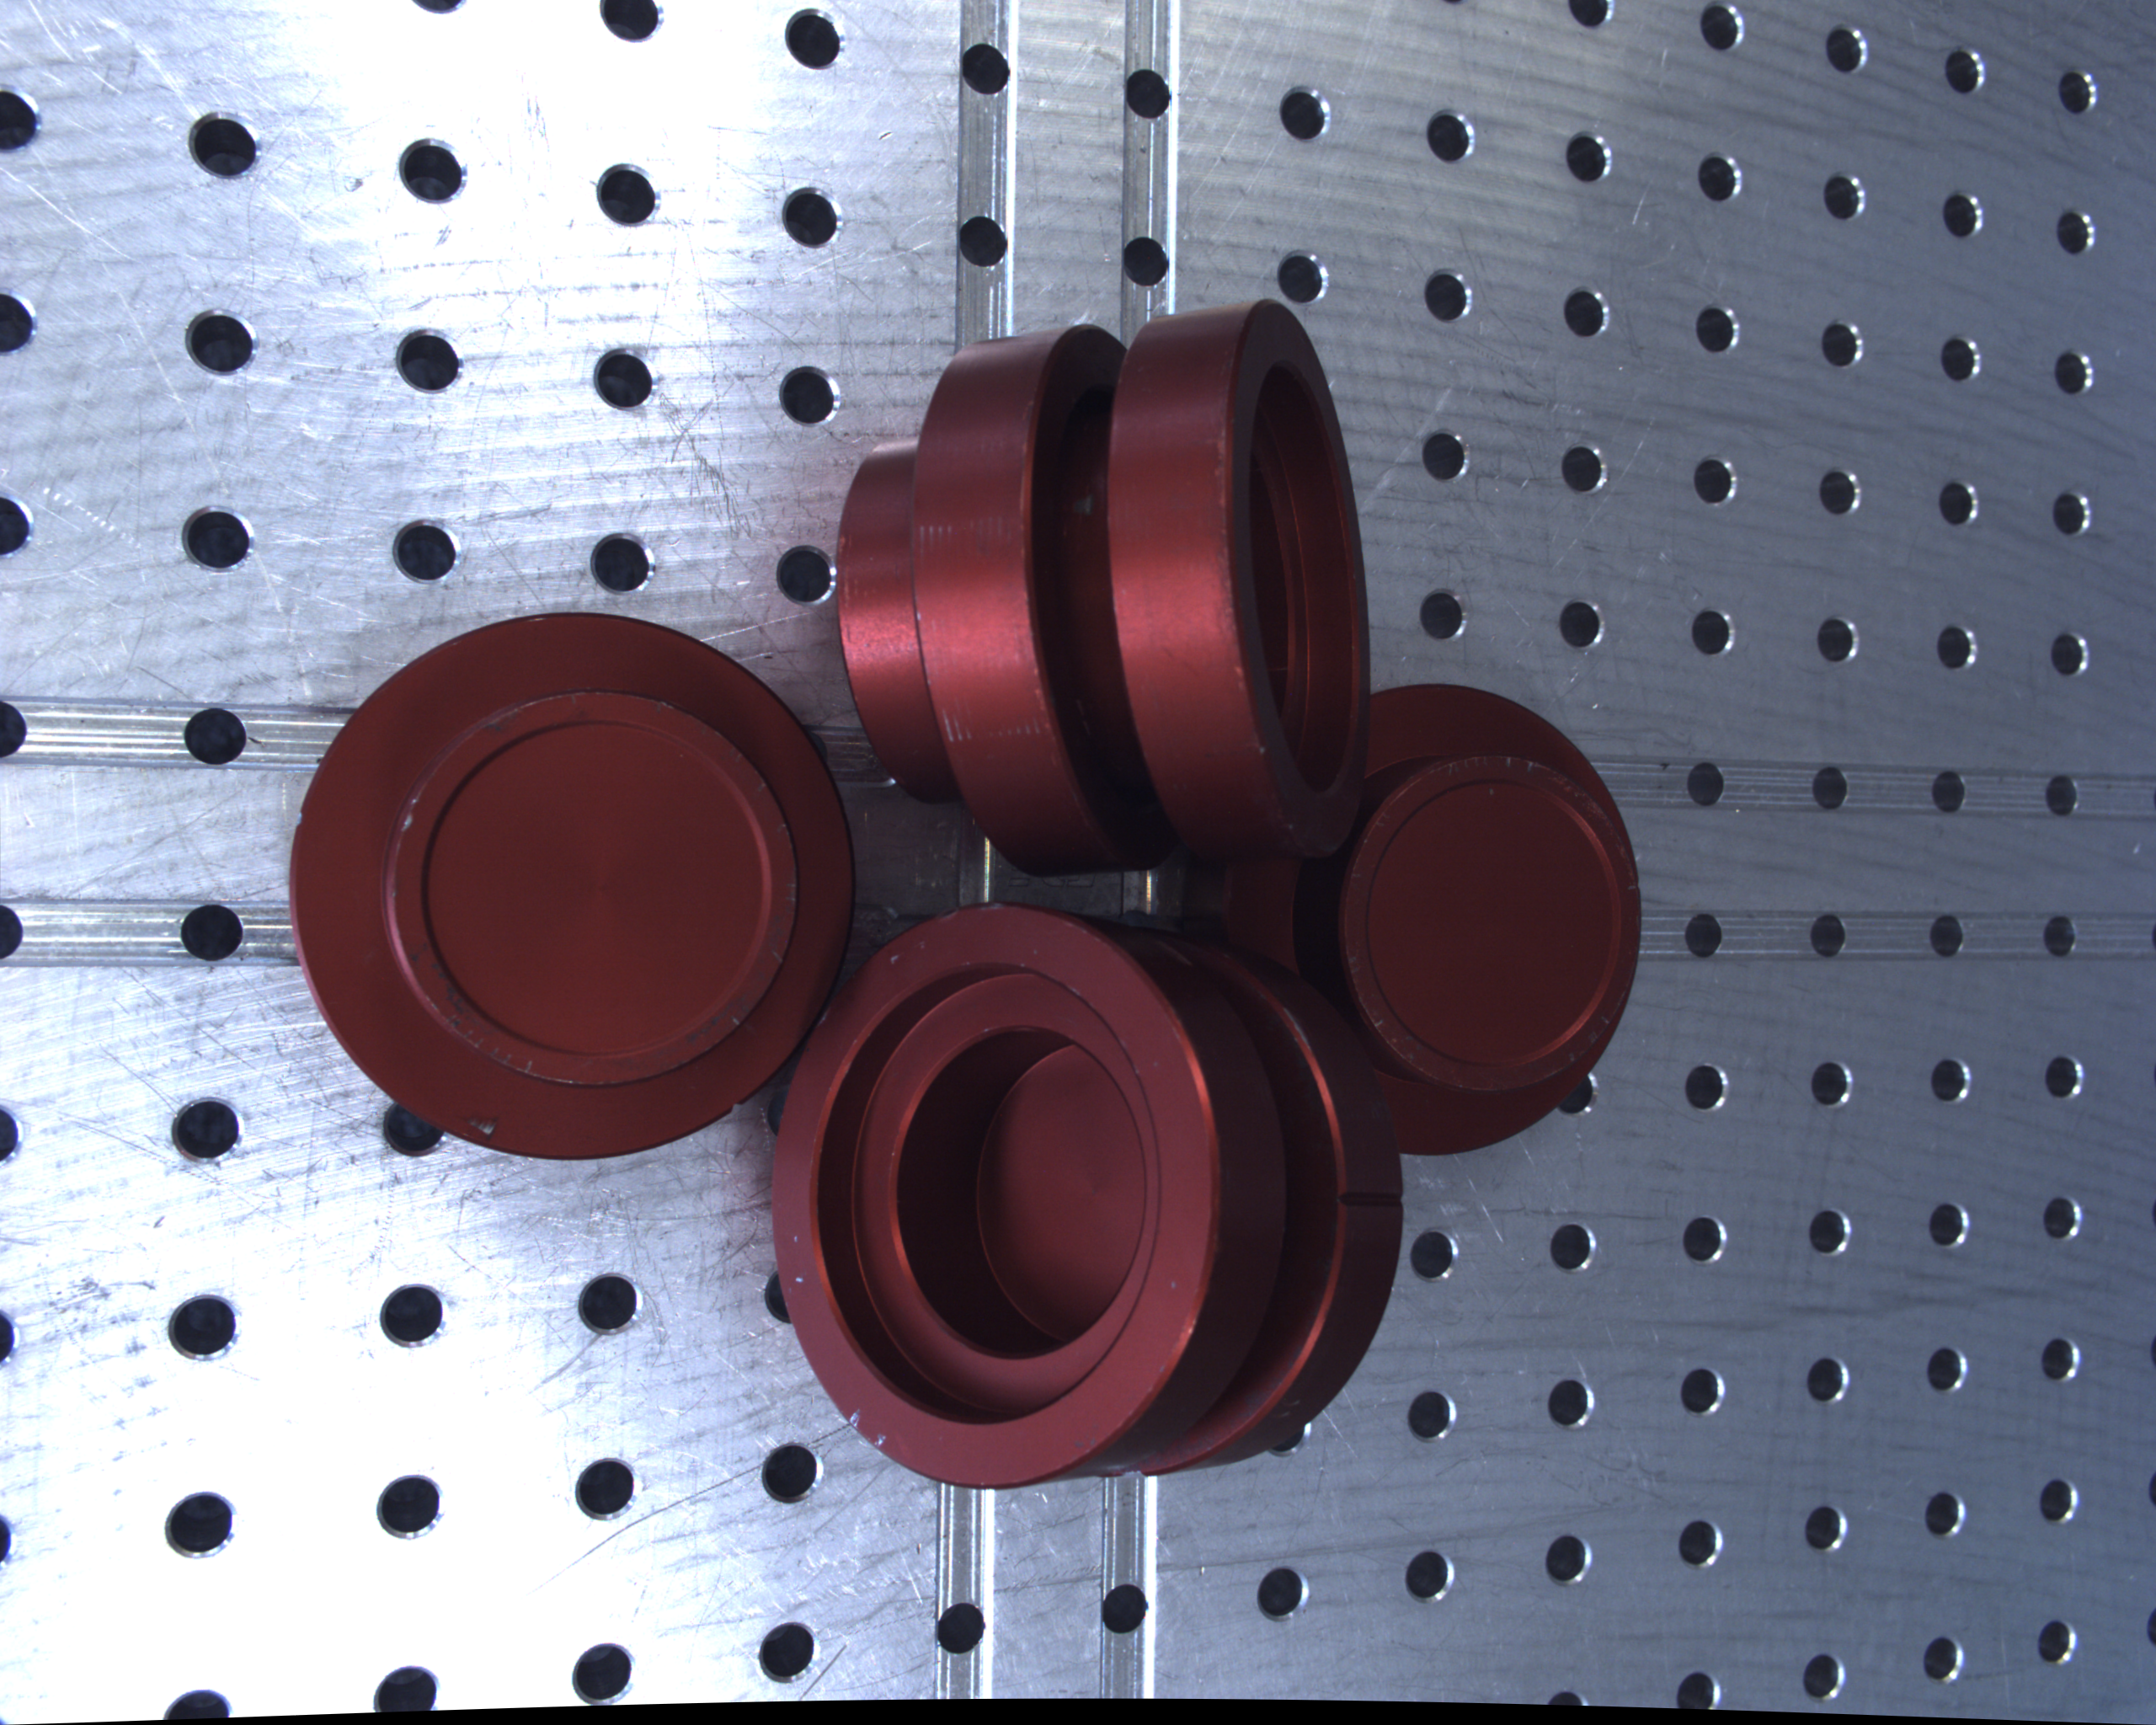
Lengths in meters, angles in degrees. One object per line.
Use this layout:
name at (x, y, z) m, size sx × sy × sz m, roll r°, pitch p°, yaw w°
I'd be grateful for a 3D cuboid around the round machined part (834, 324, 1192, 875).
round machined part at (-0.011, -0.046, 0.382) m, size 0.042 × 0.098 × 0.097 m, roll -5°, pitch 92°, yaw 20°

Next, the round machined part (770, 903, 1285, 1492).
round machined part at (-0.005, 0.058, 0.367) m, size 0.042 × 0.098 × 0.098 m, roll 13°, pitch 85°, yaw -52°

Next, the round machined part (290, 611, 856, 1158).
round machined part at (-0.087, 0.004, 0.371) m, size 0.099 × 0.042 × 0.097 m, roll 0°, pitch 90°, yaw -20°

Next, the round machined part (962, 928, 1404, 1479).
round machined part at (0.018, 0.063, 0.390) m, size 0.042 × 0.098 × 0.098 m, roll 14°, pitch 85°, yaw -51°

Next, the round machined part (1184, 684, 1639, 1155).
round machined part at (0.075, 0.012, 0.431) m, size 0.099 × 0.042 × 0.097 m, roll 0°, pitch 90°, yaw -20°

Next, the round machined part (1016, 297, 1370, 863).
round machined part at (0.021, -0.048, 0.374) m, size 0.042 × 0.098 × 0.097 m, roll -5°, pitch 92°, yaw 20°
